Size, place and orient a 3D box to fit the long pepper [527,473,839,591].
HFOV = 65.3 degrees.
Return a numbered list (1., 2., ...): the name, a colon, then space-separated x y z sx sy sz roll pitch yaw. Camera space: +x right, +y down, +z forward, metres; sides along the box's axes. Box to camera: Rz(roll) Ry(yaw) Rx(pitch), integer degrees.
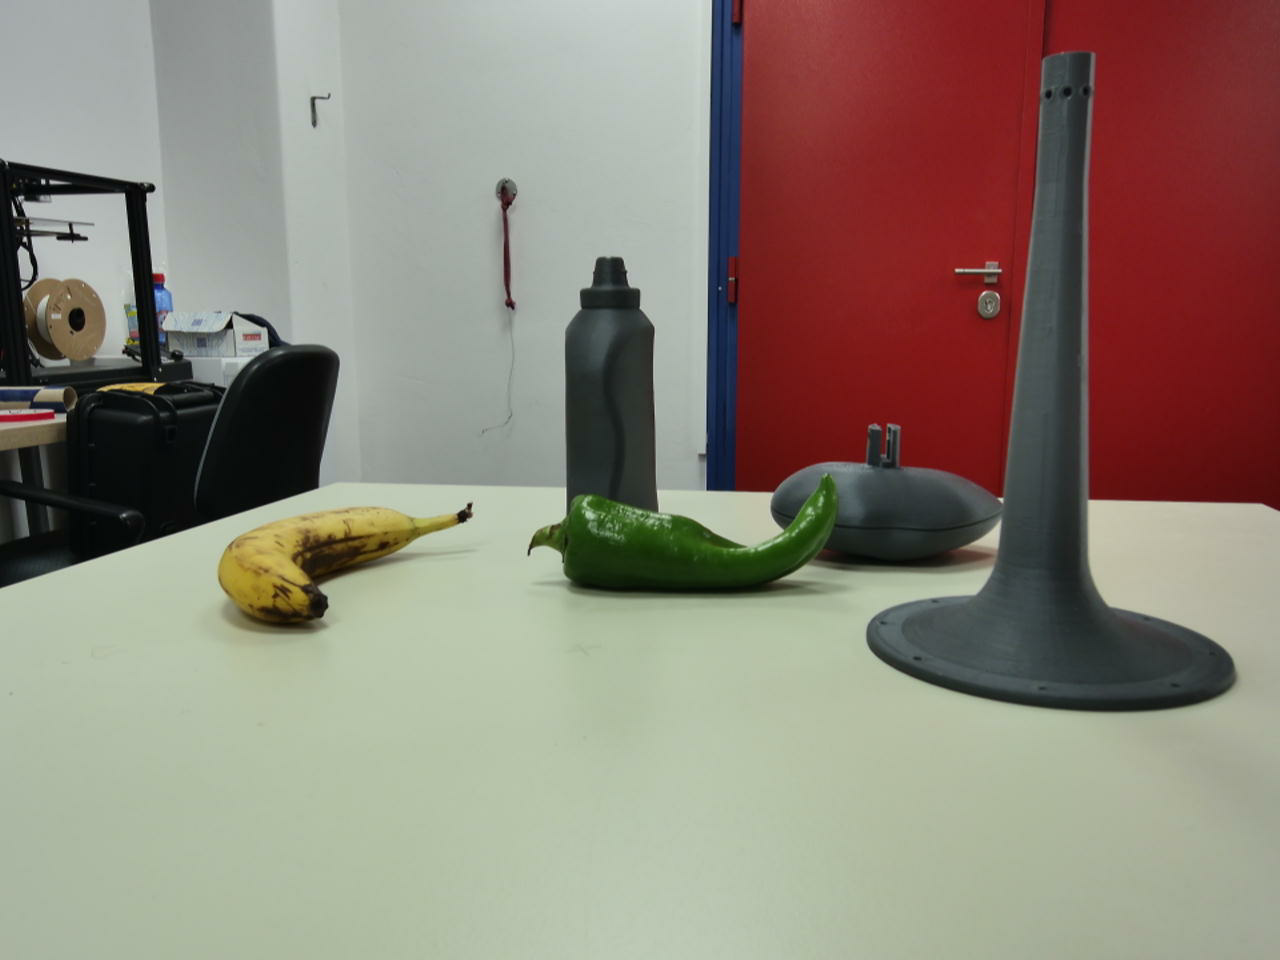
1. long pepper: 0.022 0.028 0.559 0.175 0.065 0.058 1 6 10
